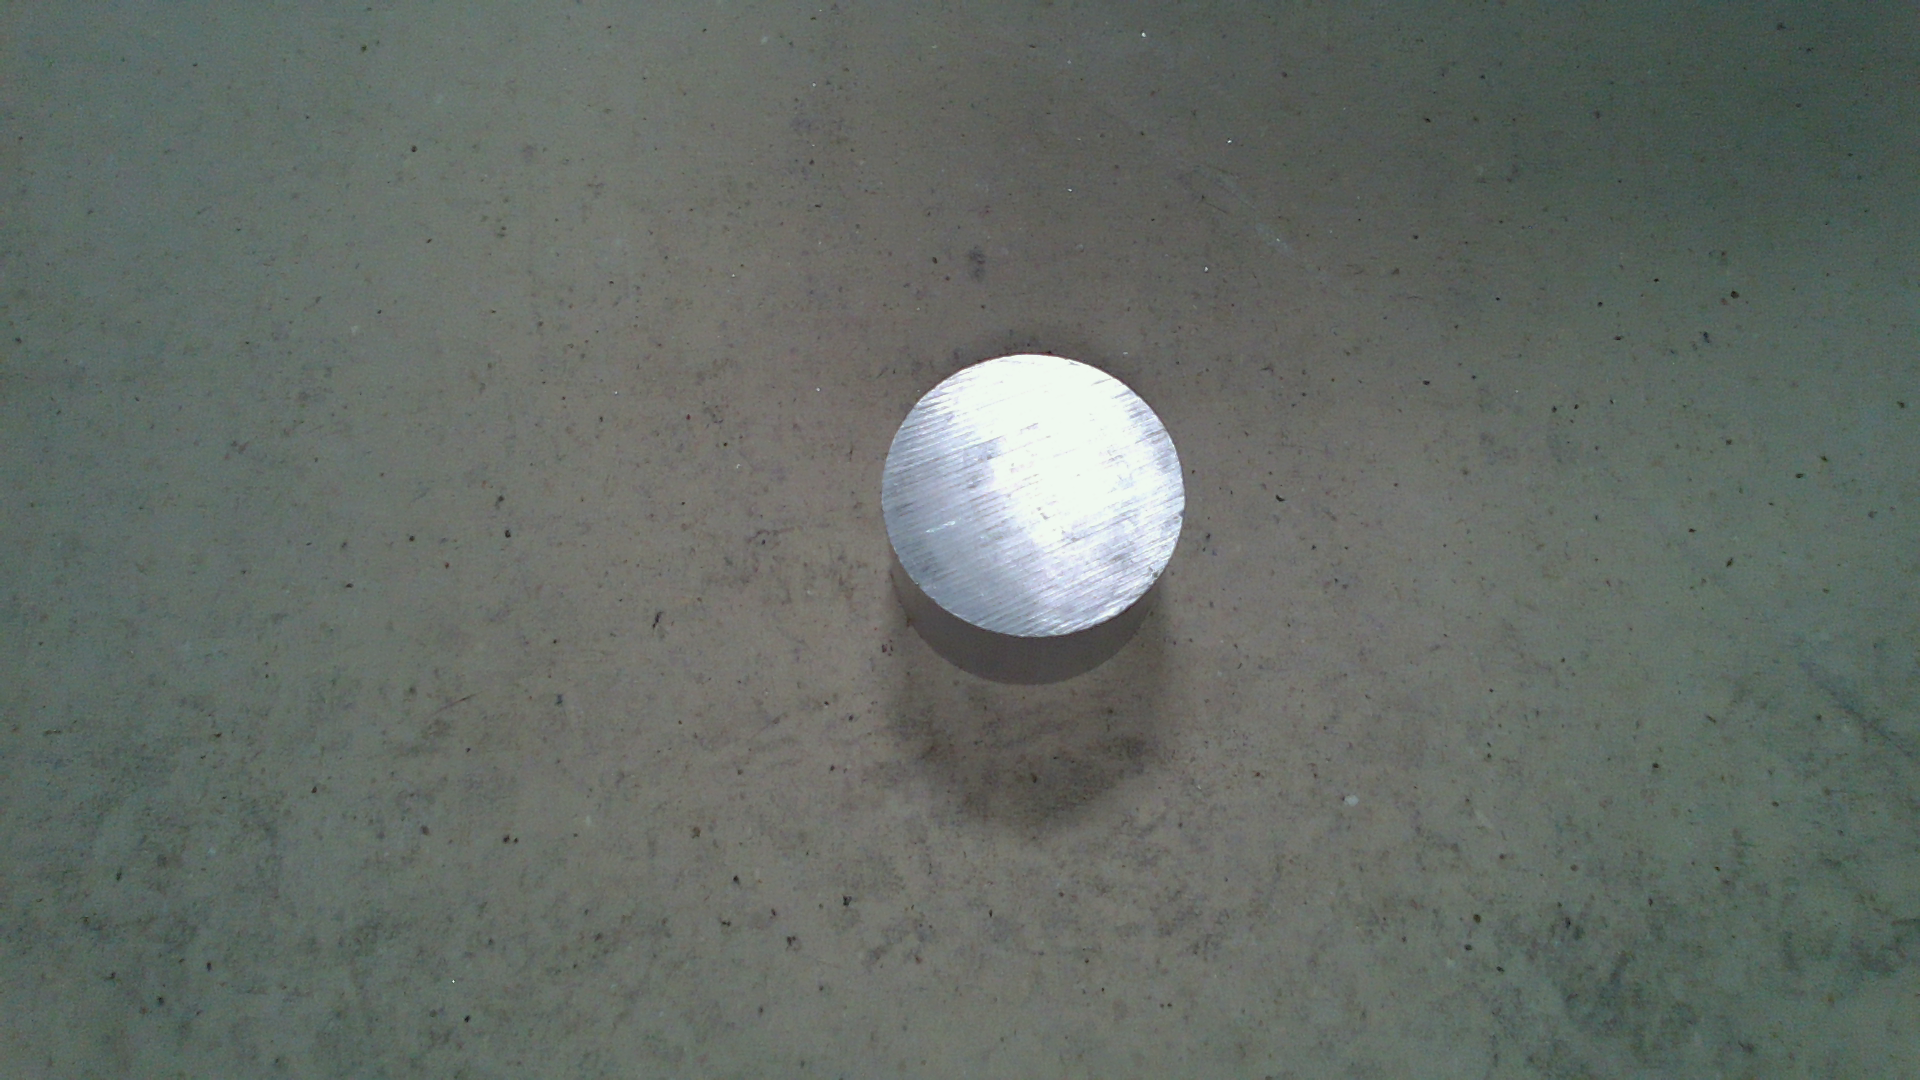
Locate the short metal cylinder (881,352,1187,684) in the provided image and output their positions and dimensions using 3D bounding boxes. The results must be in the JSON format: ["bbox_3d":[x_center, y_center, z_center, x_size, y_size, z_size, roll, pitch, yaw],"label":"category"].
[{"bbox_3d":[0.019,-0.005,0.383,0.080,0.050,0.080,0,70,0],"label":"short metal cylinder"}]
